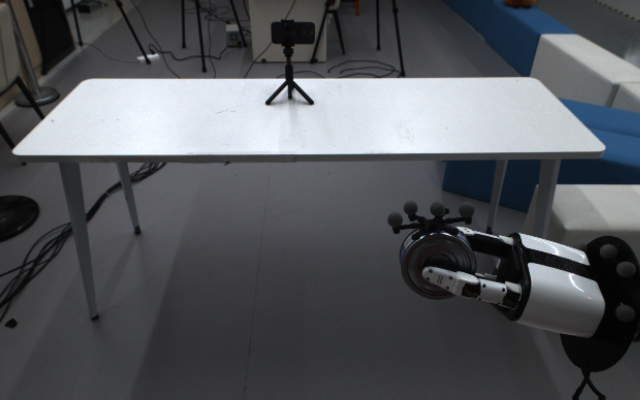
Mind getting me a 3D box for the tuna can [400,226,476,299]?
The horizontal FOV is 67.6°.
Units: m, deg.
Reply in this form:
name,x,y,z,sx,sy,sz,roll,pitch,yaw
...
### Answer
name,x,y,z,sx,sy,sz,roll,pitch,yaw
tuna can,0.139,0.070,0.565,0.085,0.085,0.034,6,18,5
